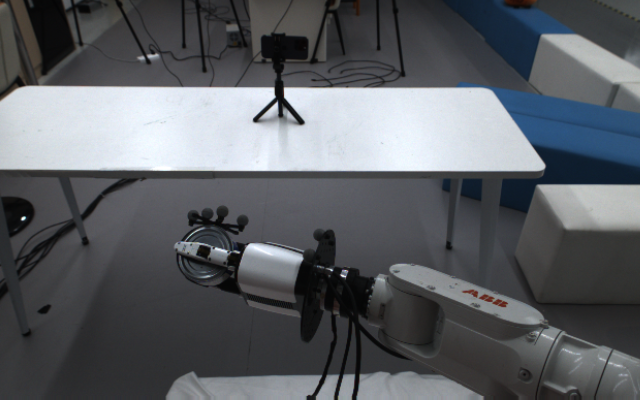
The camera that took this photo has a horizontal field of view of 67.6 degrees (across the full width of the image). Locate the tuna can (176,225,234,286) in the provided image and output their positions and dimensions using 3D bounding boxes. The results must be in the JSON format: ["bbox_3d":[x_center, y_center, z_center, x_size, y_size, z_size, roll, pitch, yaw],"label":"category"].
[{"bbox_3d":[-0.162,0.081,0.707,0.085,0.034,0.085,-3,68,8],"label":"tuna can"}]
